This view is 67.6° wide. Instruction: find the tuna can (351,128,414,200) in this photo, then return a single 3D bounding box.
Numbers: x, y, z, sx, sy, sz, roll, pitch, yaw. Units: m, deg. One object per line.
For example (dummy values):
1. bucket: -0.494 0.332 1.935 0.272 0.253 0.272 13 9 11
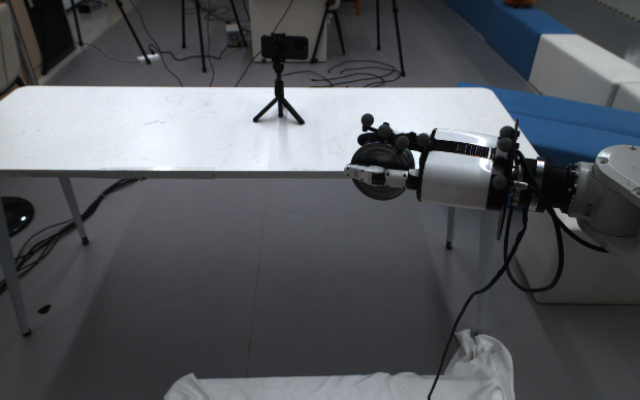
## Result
1. tuna can: 0.089 -0.047 0.675 0.085 0.085 0.034 16 29 19
